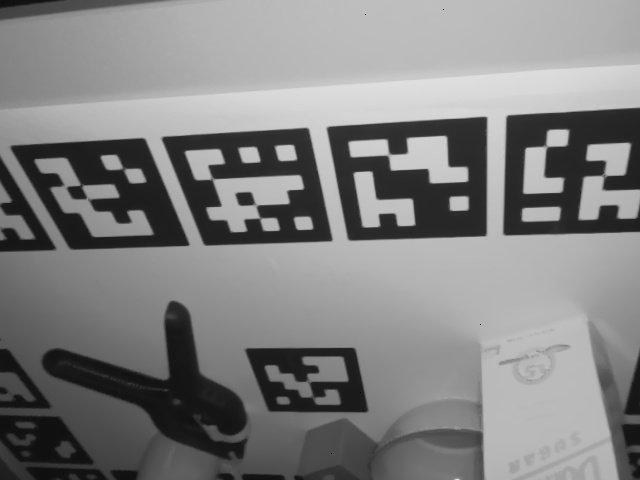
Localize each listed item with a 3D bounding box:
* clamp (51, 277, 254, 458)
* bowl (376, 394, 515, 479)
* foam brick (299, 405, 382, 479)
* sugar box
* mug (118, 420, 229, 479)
[{"bbox_3d":[-0.123,0.131,0.639,0.164,0.037,0.203,-20,122,19],"label":"clamp"},{"bbox_3d":[0.135,0.195,0.651,0.161,0.056,0.160,4,129,6],"label":"bowl"},{"bbox_3d":[0.022,0.210,0.688,0.052,0.052,0.078,-23,121,23],"label":"foam brick"},{"bbox_3d":[0.189,0.130,0.515,0.092,0.178,0.045,-20,121,24],"label":"sugar box"},{"bbox_3d":[-0.146,0.243,0.705,0.117,0.082,0.092,23,128,-6],"label":"mug"}]
